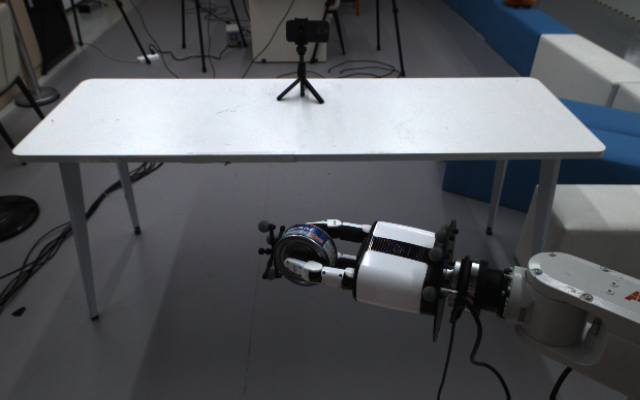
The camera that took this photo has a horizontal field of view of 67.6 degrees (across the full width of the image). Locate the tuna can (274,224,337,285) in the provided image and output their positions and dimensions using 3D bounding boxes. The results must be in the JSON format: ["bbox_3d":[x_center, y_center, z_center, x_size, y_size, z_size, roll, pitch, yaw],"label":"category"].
[{"bbox_3d":[-0.018,0.079,0.676,0.085,0.085,0.034,12,28,14],"label":"tuna can"}]
